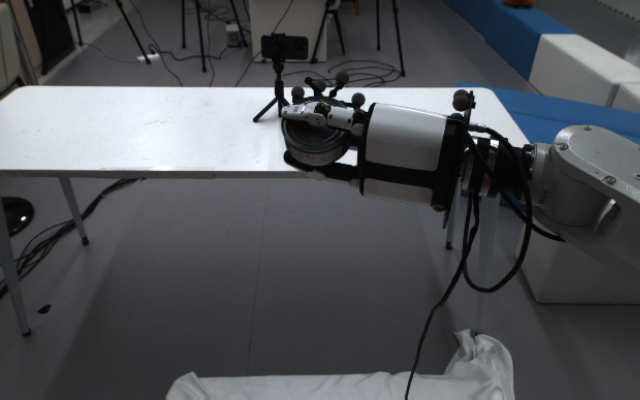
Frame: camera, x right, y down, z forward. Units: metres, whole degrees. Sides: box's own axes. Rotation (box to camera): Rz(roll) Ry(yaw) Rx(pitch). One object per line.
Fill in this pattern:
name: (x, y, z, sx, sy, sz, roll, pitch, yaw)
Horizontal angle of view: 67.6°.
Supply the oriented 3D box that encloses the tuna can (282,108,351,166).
tuna can: (-0.003, -0.086, 0.594, 0.085, 0.034, 0.085, -2, 58, 3)
